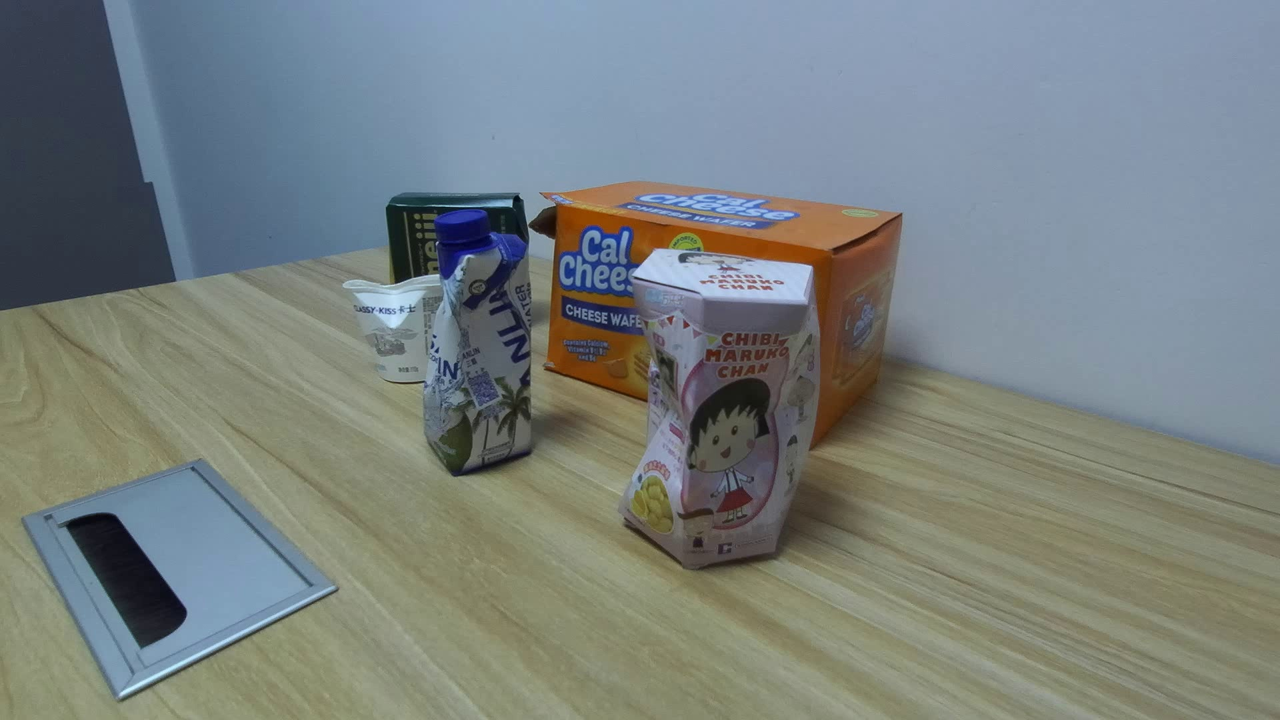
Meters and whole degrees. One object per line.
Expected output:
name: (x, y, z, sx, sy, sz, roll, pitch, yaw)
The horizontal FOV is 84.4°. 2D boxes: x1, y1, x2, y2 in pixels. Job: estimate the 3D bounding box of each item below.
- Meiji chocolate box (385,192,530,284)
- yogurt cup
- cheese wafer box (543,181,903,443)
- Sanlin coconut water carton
Meiji chocolate box: (-0.155, -0.088, 0.617, 0.122, 0.116, 0.058, 2, 23, 5)
yogurt cup: (-0.167, -0.027, 0.515, 0.076, 0.071, 0.053, -18, 32, -32)
cheese wafer box: (0.053, -0.050, 0.513, 0.226, 0.137, 0.150, 16, 26, 31)
Sanlin coconut water carton: (-0.086, -0.010, 0.404, 0.069, 0.144, 0.056, -6, 28, -37)
